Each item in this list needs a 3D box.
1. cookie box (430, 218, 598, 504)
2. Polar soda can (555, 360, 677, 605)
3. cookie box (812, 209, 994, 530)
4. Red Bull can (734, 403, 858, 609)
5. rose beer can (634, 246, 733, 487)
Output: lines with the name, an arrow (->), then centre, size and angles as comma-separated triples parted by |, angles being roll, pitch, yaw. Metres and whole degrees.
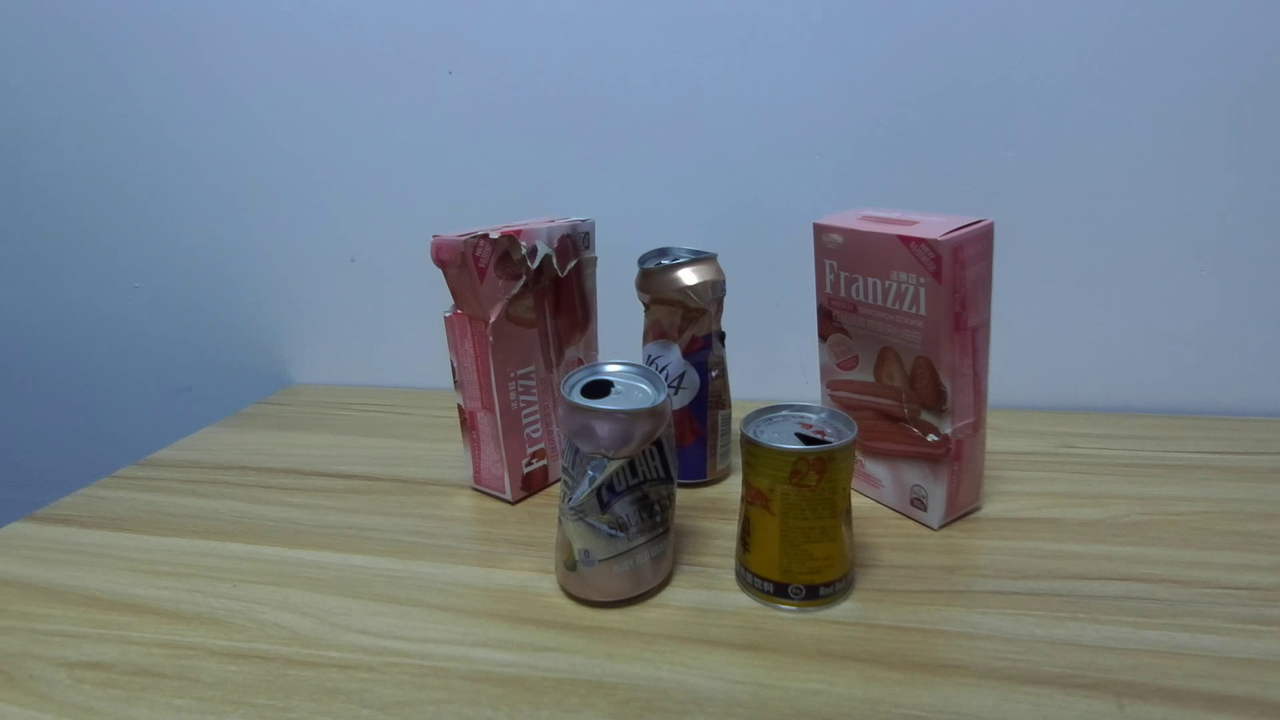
cookie box -> -0.076, -0.002, 0.498 | 0.059, 0.186, 0.105 | 12, 24, 42
Polar soda can -> -0.013, 0.068, 0.379 | 0.066, 0.122, 0.071 | 2, 17, 2
cookie box -> 0.164, 0.006, 0.439 | 0.049, 0.188, 0.104 | -19, 24, -26
Red Bull can -> 0.083, 0.075, 0.376 | 0.069, 0.092, 0.069 | -3, 20, 1
rose beer can -> 0.032, 0.005, 0.494 | 0.073, 0.162, 0.068 | 4, 19, 23
